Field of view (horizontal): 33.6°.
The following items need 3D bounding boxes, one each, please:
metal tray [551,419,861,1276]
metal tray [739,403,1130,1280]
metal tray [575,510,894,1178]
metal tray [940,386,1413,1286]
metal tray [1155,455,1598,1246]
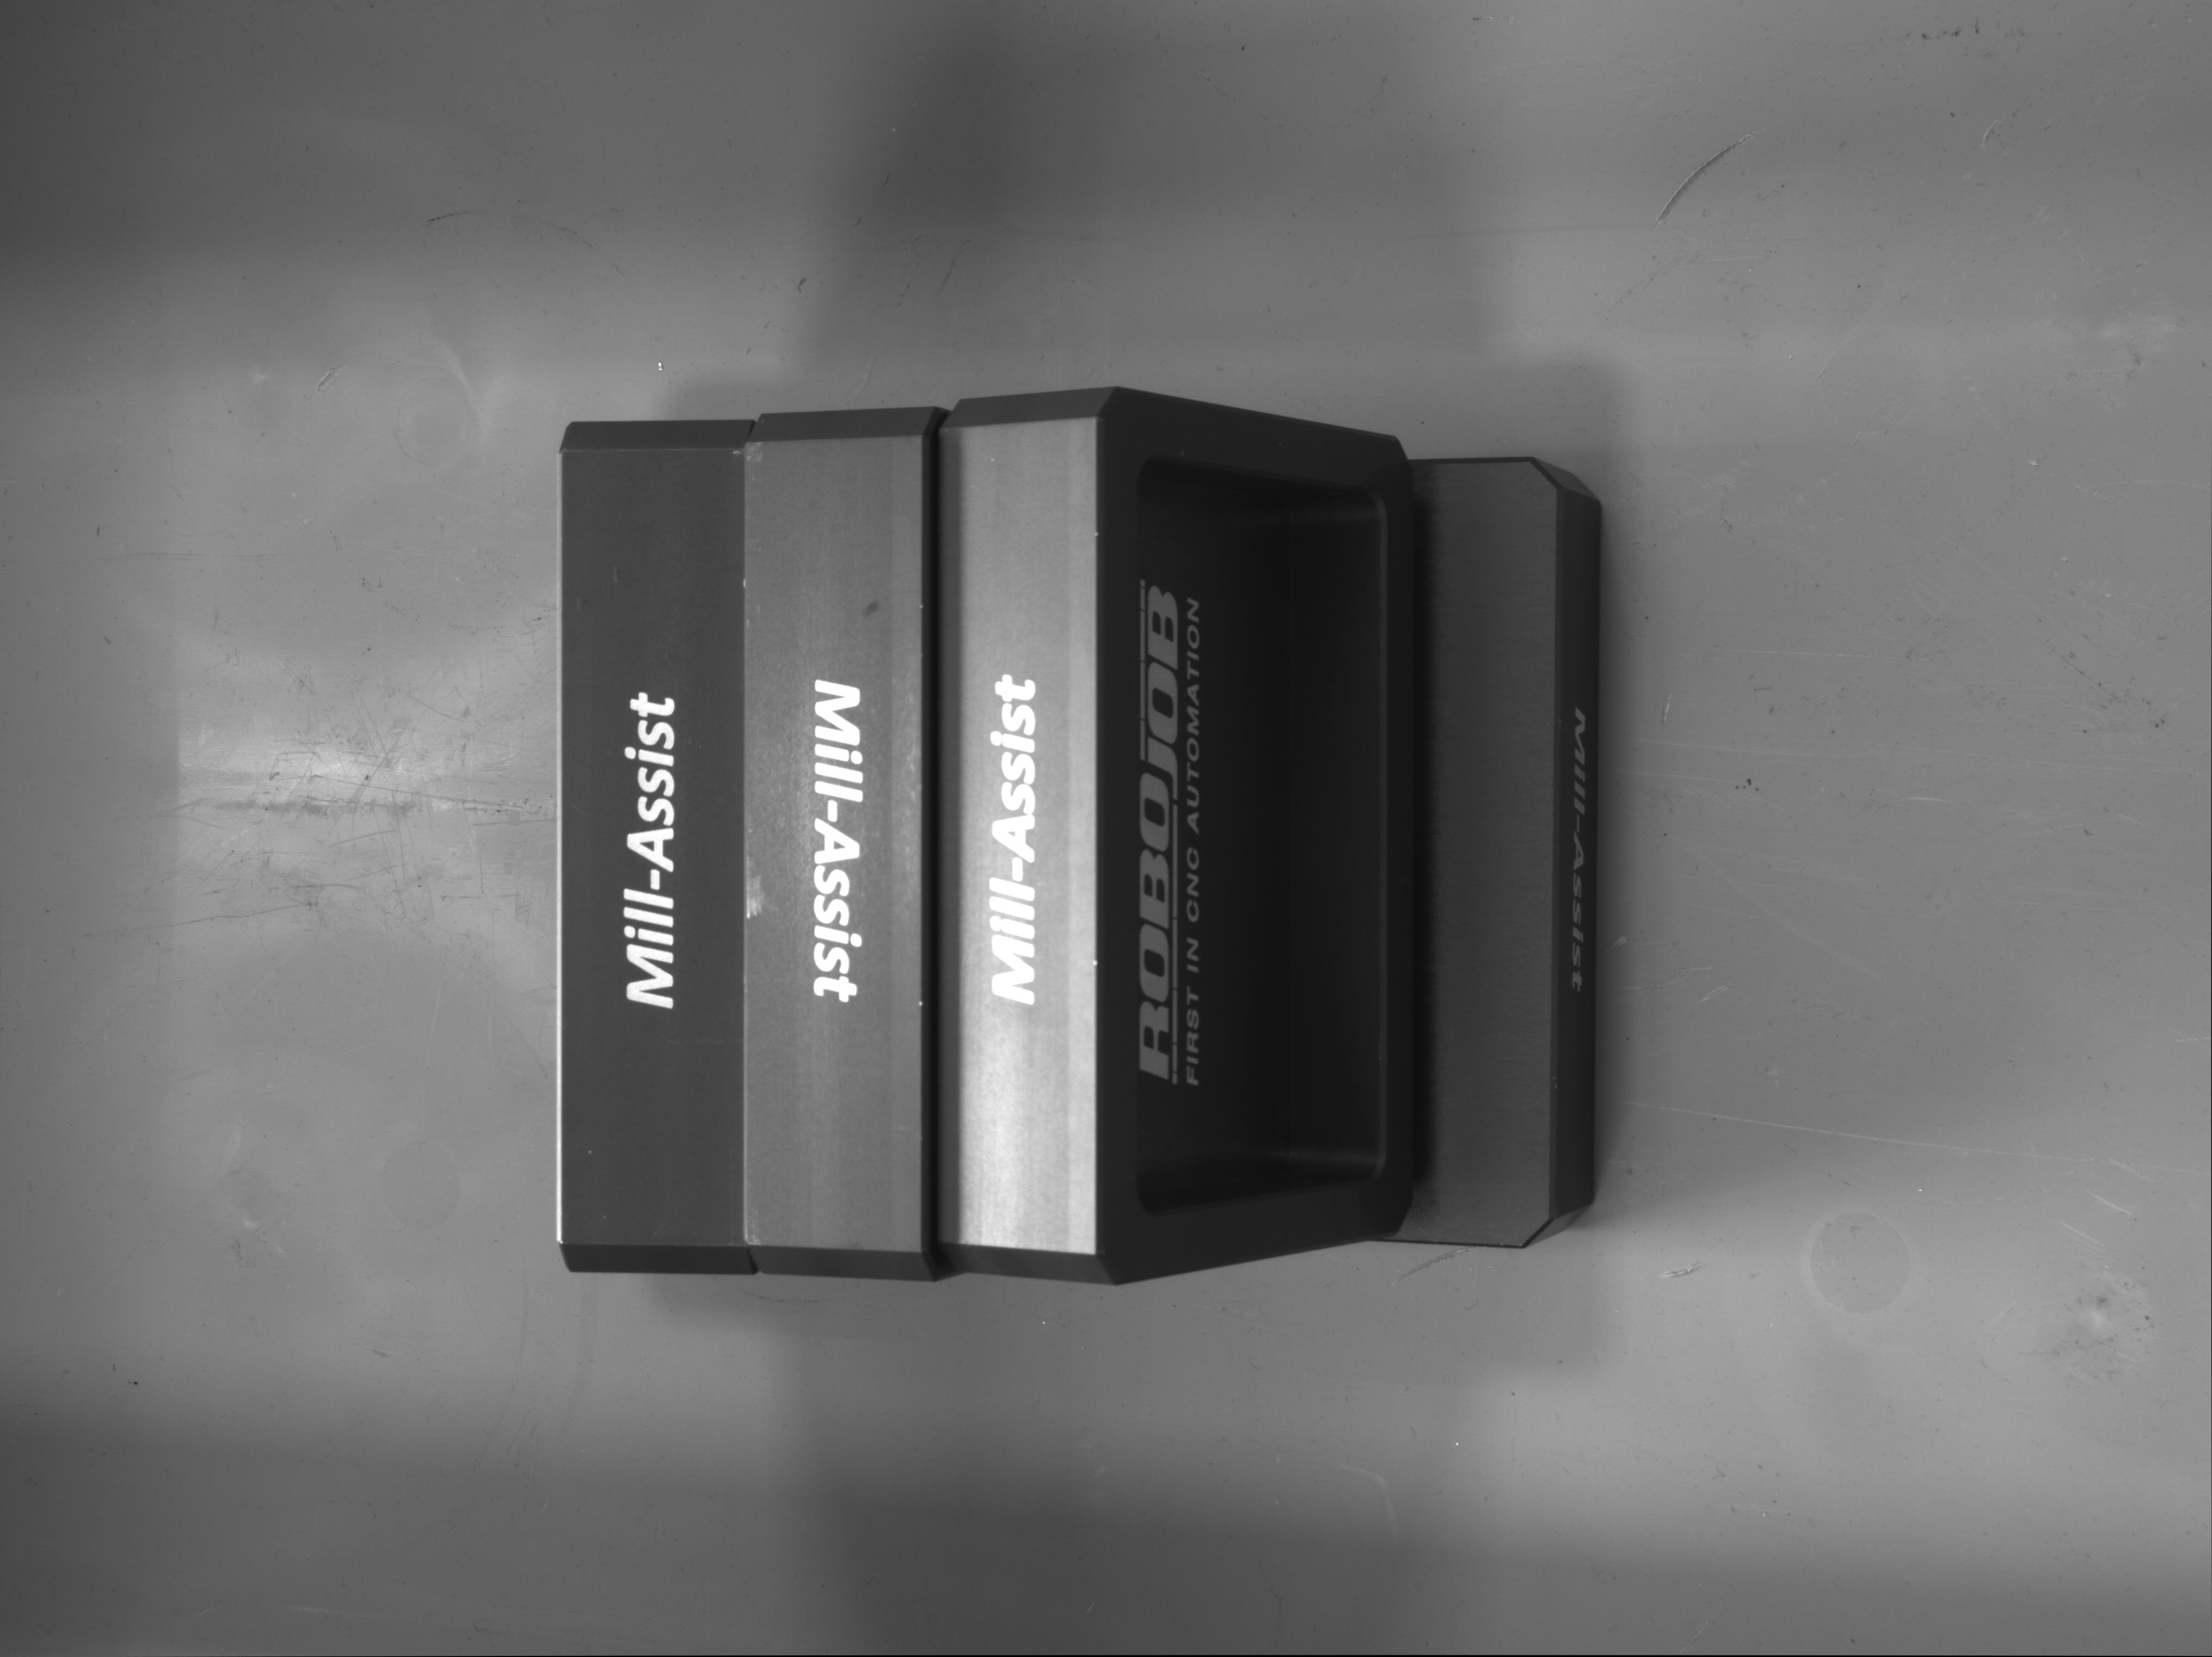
[{"bbox_3d":[-0.063,0.003,0.598,0.030,0.090,0.130,0,90,8],"label":"metal tray"},{"bbox_3d":[-0.025,0.003,0.586,0.030,0.090,0.130,0,88,20],"label":"metal tray"},{"bbox_3d":[-0.049,0.001,0.659,0.090,0.030,0.130,0,90,20],"label":"metal tray"},{"bbox_3d":[0.013,0.001,0.571,0.030,0.090,0.130,0,90,34],"label":"metal tray"},{"bbox_3d":[0.037,0.003,0.629,0.090,0.030,0.130,0,90,20],"label":"metal tray"}]
